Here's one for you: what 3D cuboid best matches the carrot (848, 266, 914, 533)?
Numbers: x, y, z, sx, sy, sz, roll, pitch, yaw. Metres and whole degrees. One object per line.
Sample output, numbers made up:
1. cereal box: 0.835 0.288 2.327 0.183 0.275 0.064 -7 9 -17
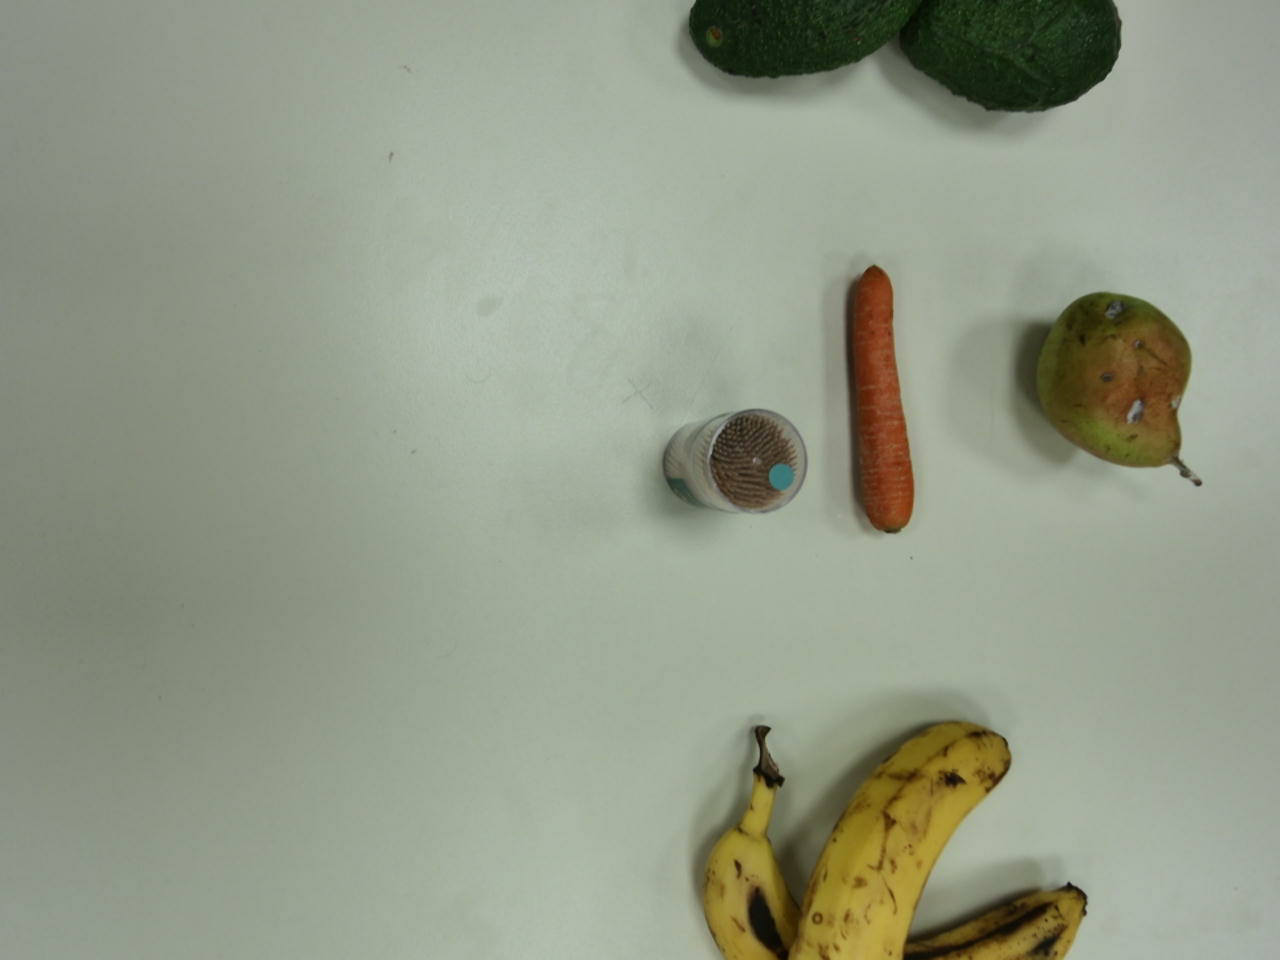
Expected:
1. carrot: 0.110 -0.037 0.453 0.024 0.023 0.122 -3 91 -12
